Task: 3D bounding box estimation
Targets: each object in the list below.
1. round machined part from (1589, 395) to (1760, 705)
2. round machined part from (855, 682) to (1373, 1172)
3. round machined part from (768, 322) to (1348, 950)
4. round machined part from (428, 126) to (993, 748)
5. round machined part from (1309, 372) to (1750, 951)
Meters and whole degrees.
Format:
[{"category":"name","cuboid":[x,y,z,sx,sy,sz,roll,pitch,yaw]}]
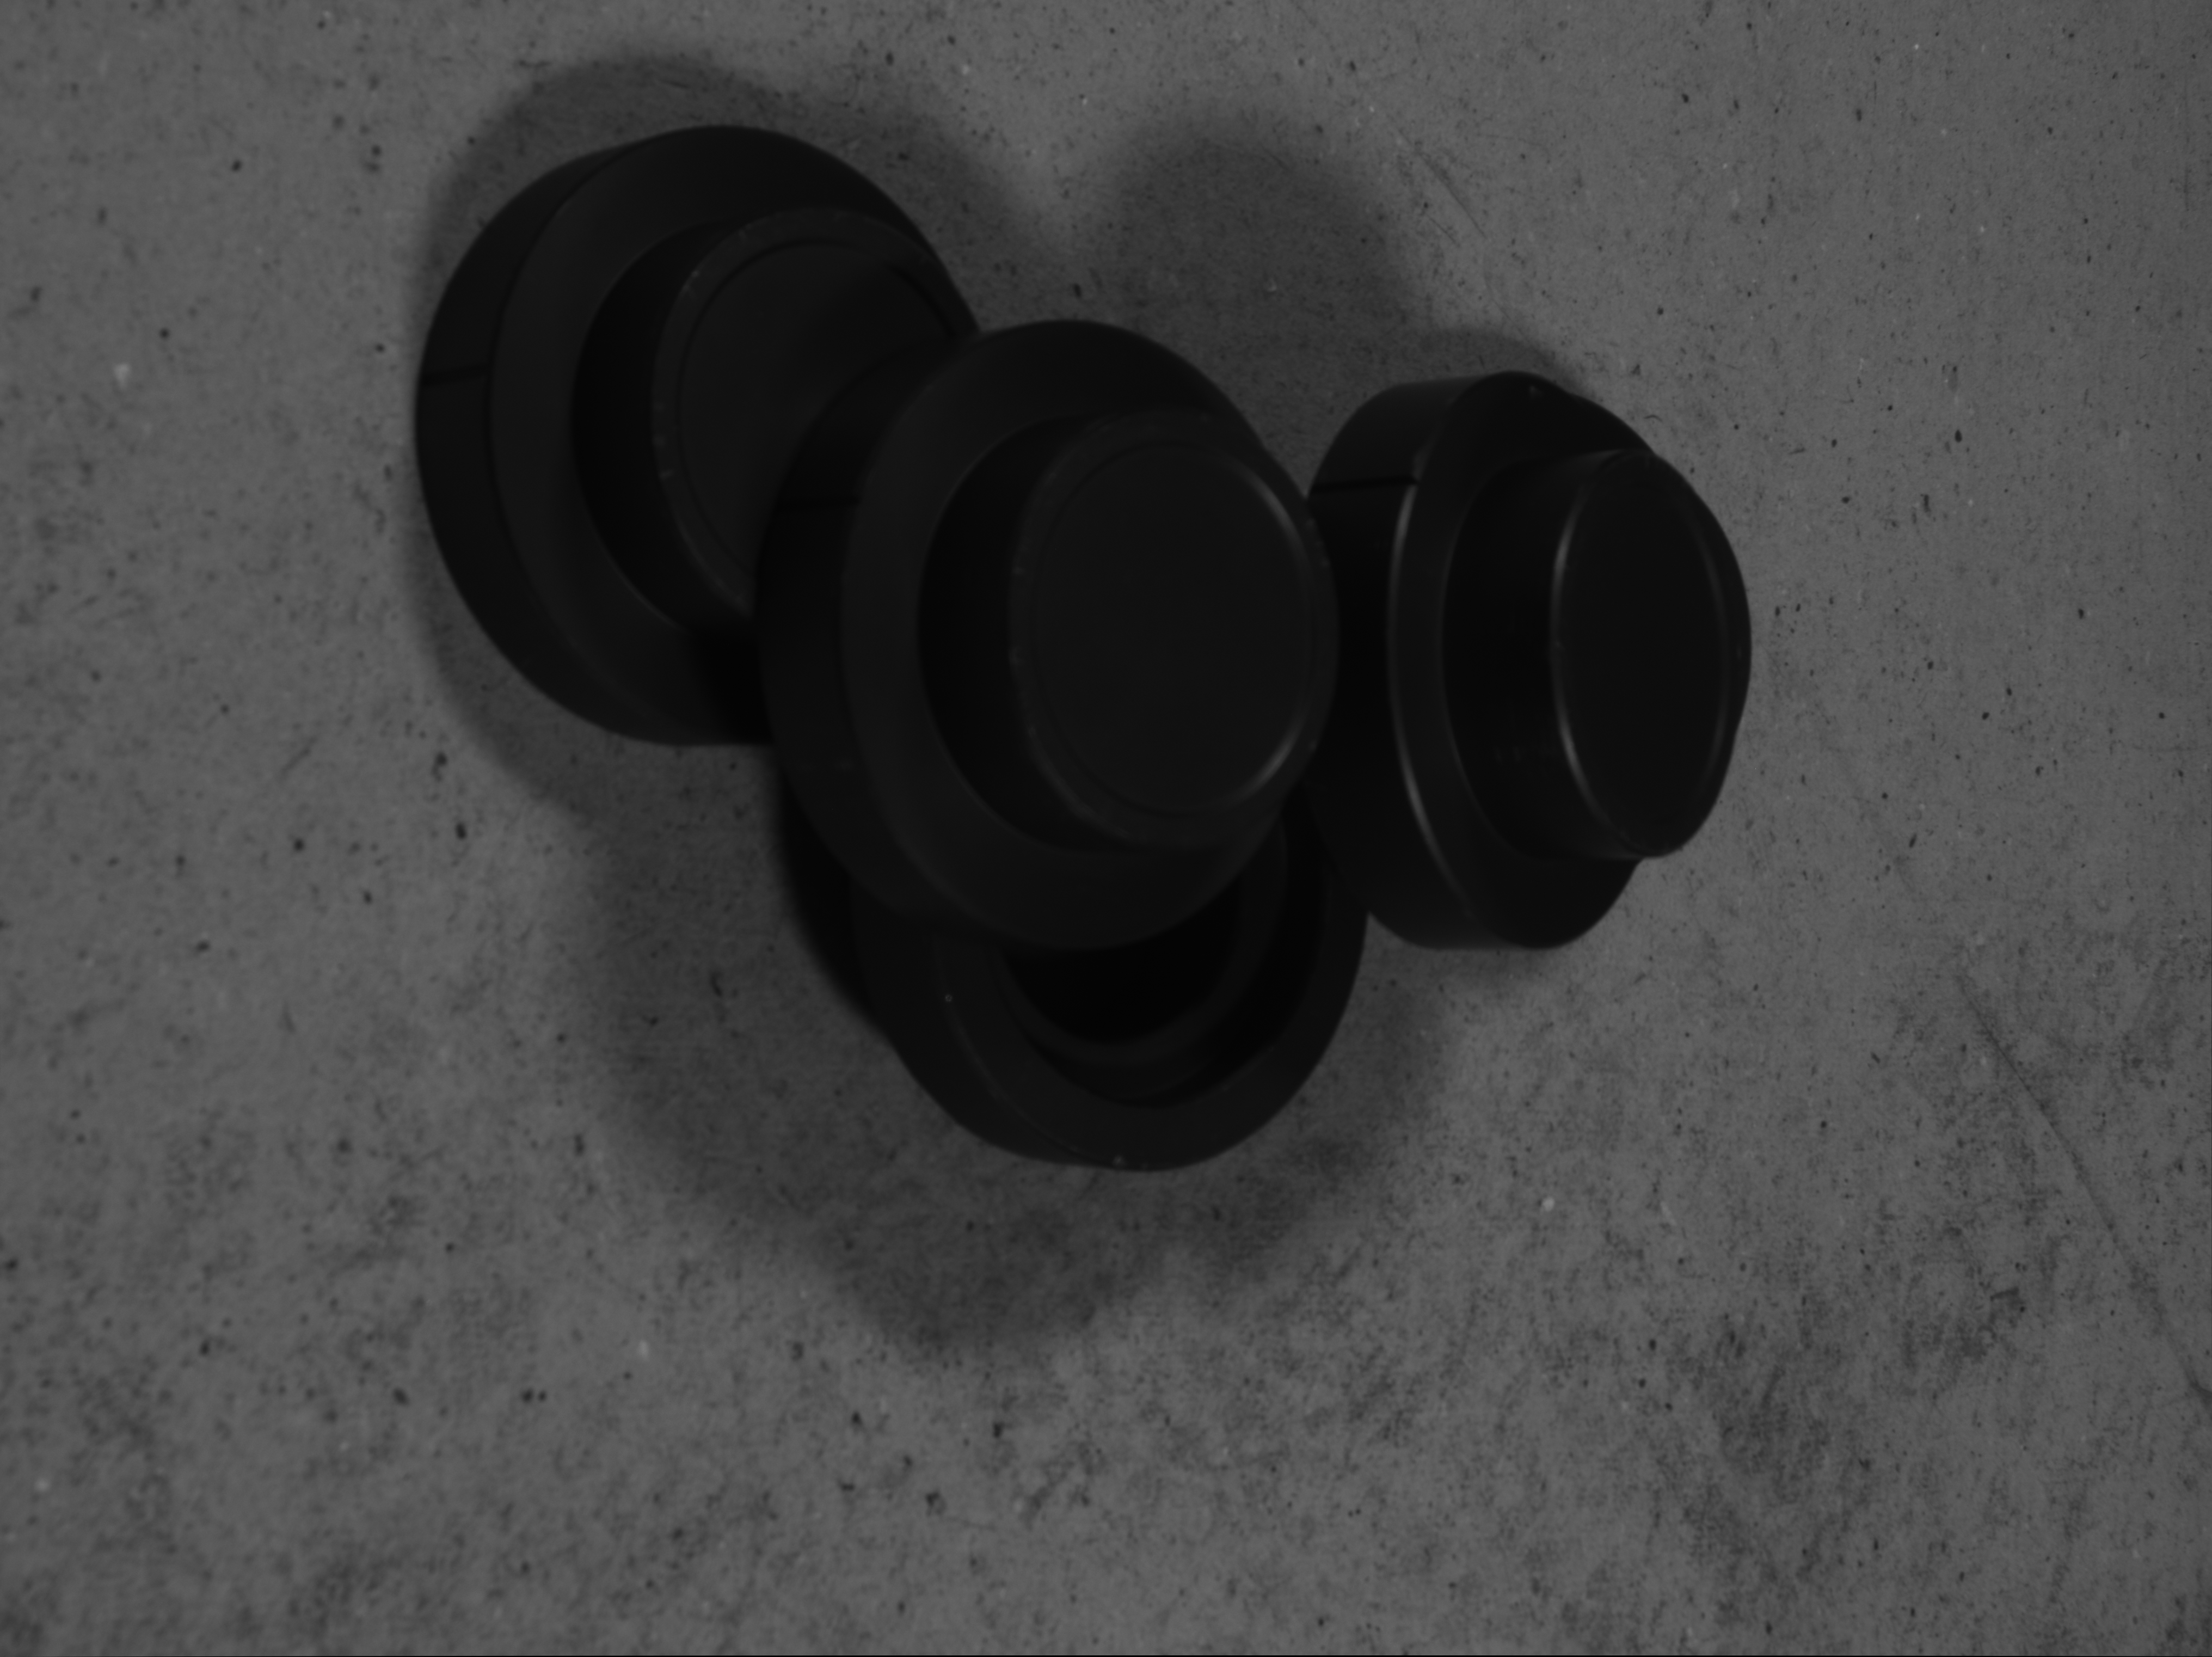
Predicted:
[{"category":"round machined part","cuboid":[0.087,-0.035,0.698,0.098,0.042,0.098,0,90,-40]},{"category":"round machined part","cuboid":[-0.003,0.008,0.623,0.098,0.042,0.098,0,90,-40]},{"category":"round machined part","cuboid":[-0.001,-0.030,0.571,0.098,0.042,0.098,0,90,-40]},{"category":"round machined part","cuboid":[-0.054,-0.062,0.581,0.098,0.042,0.098,0,90,-40]},{"category":"round machined part","cuboid":[0.075,-0.028,0.621,0.098,0.042,0.098,3,86,-53]}]
